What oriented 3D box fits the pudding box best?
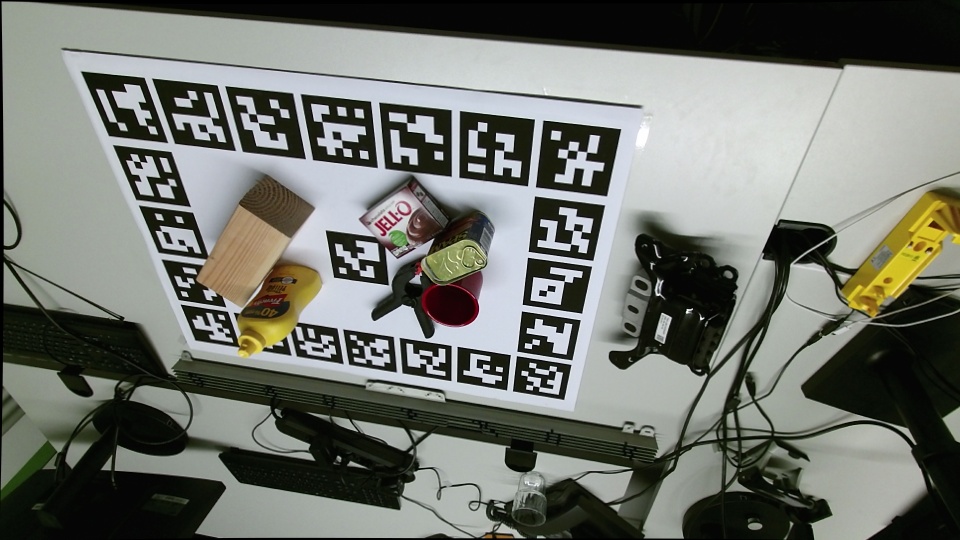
[{"bbox_3d":[-0.124,-0.076,0.829,0.114,0.038,0.090,-28,115,29],"label":"pudding box"}]

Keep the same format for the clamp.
[{"bbox_3d":[-0.125,0.059,0.932,0.122,0.036,0.165,24,125,-3],"label":"clamp"}]

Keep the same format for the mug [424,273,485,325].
[{"bbox_3d":[-0.043,0.040,0.895,0.093,0.081,0.117,26,125,-6],"label":"mug"}]

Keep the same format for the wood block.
[{"bbox_3d":[-0.378,-0.041,0.880,0.090,0.090,0.206,37,126,-17],"label":"wood block"}]

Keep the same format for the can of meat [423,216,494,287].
[{"bbox_3d":[-0.032,-0.030,0.808,0.102,0.083,0.058,-19,118,24],"label":"can of meat"}]

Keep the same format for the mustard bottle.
[{"bbox_3d":[-0.350,0.080,0.891,0.096,0.191,0.058,3,125,9],"label":"mustard bottle"}]
